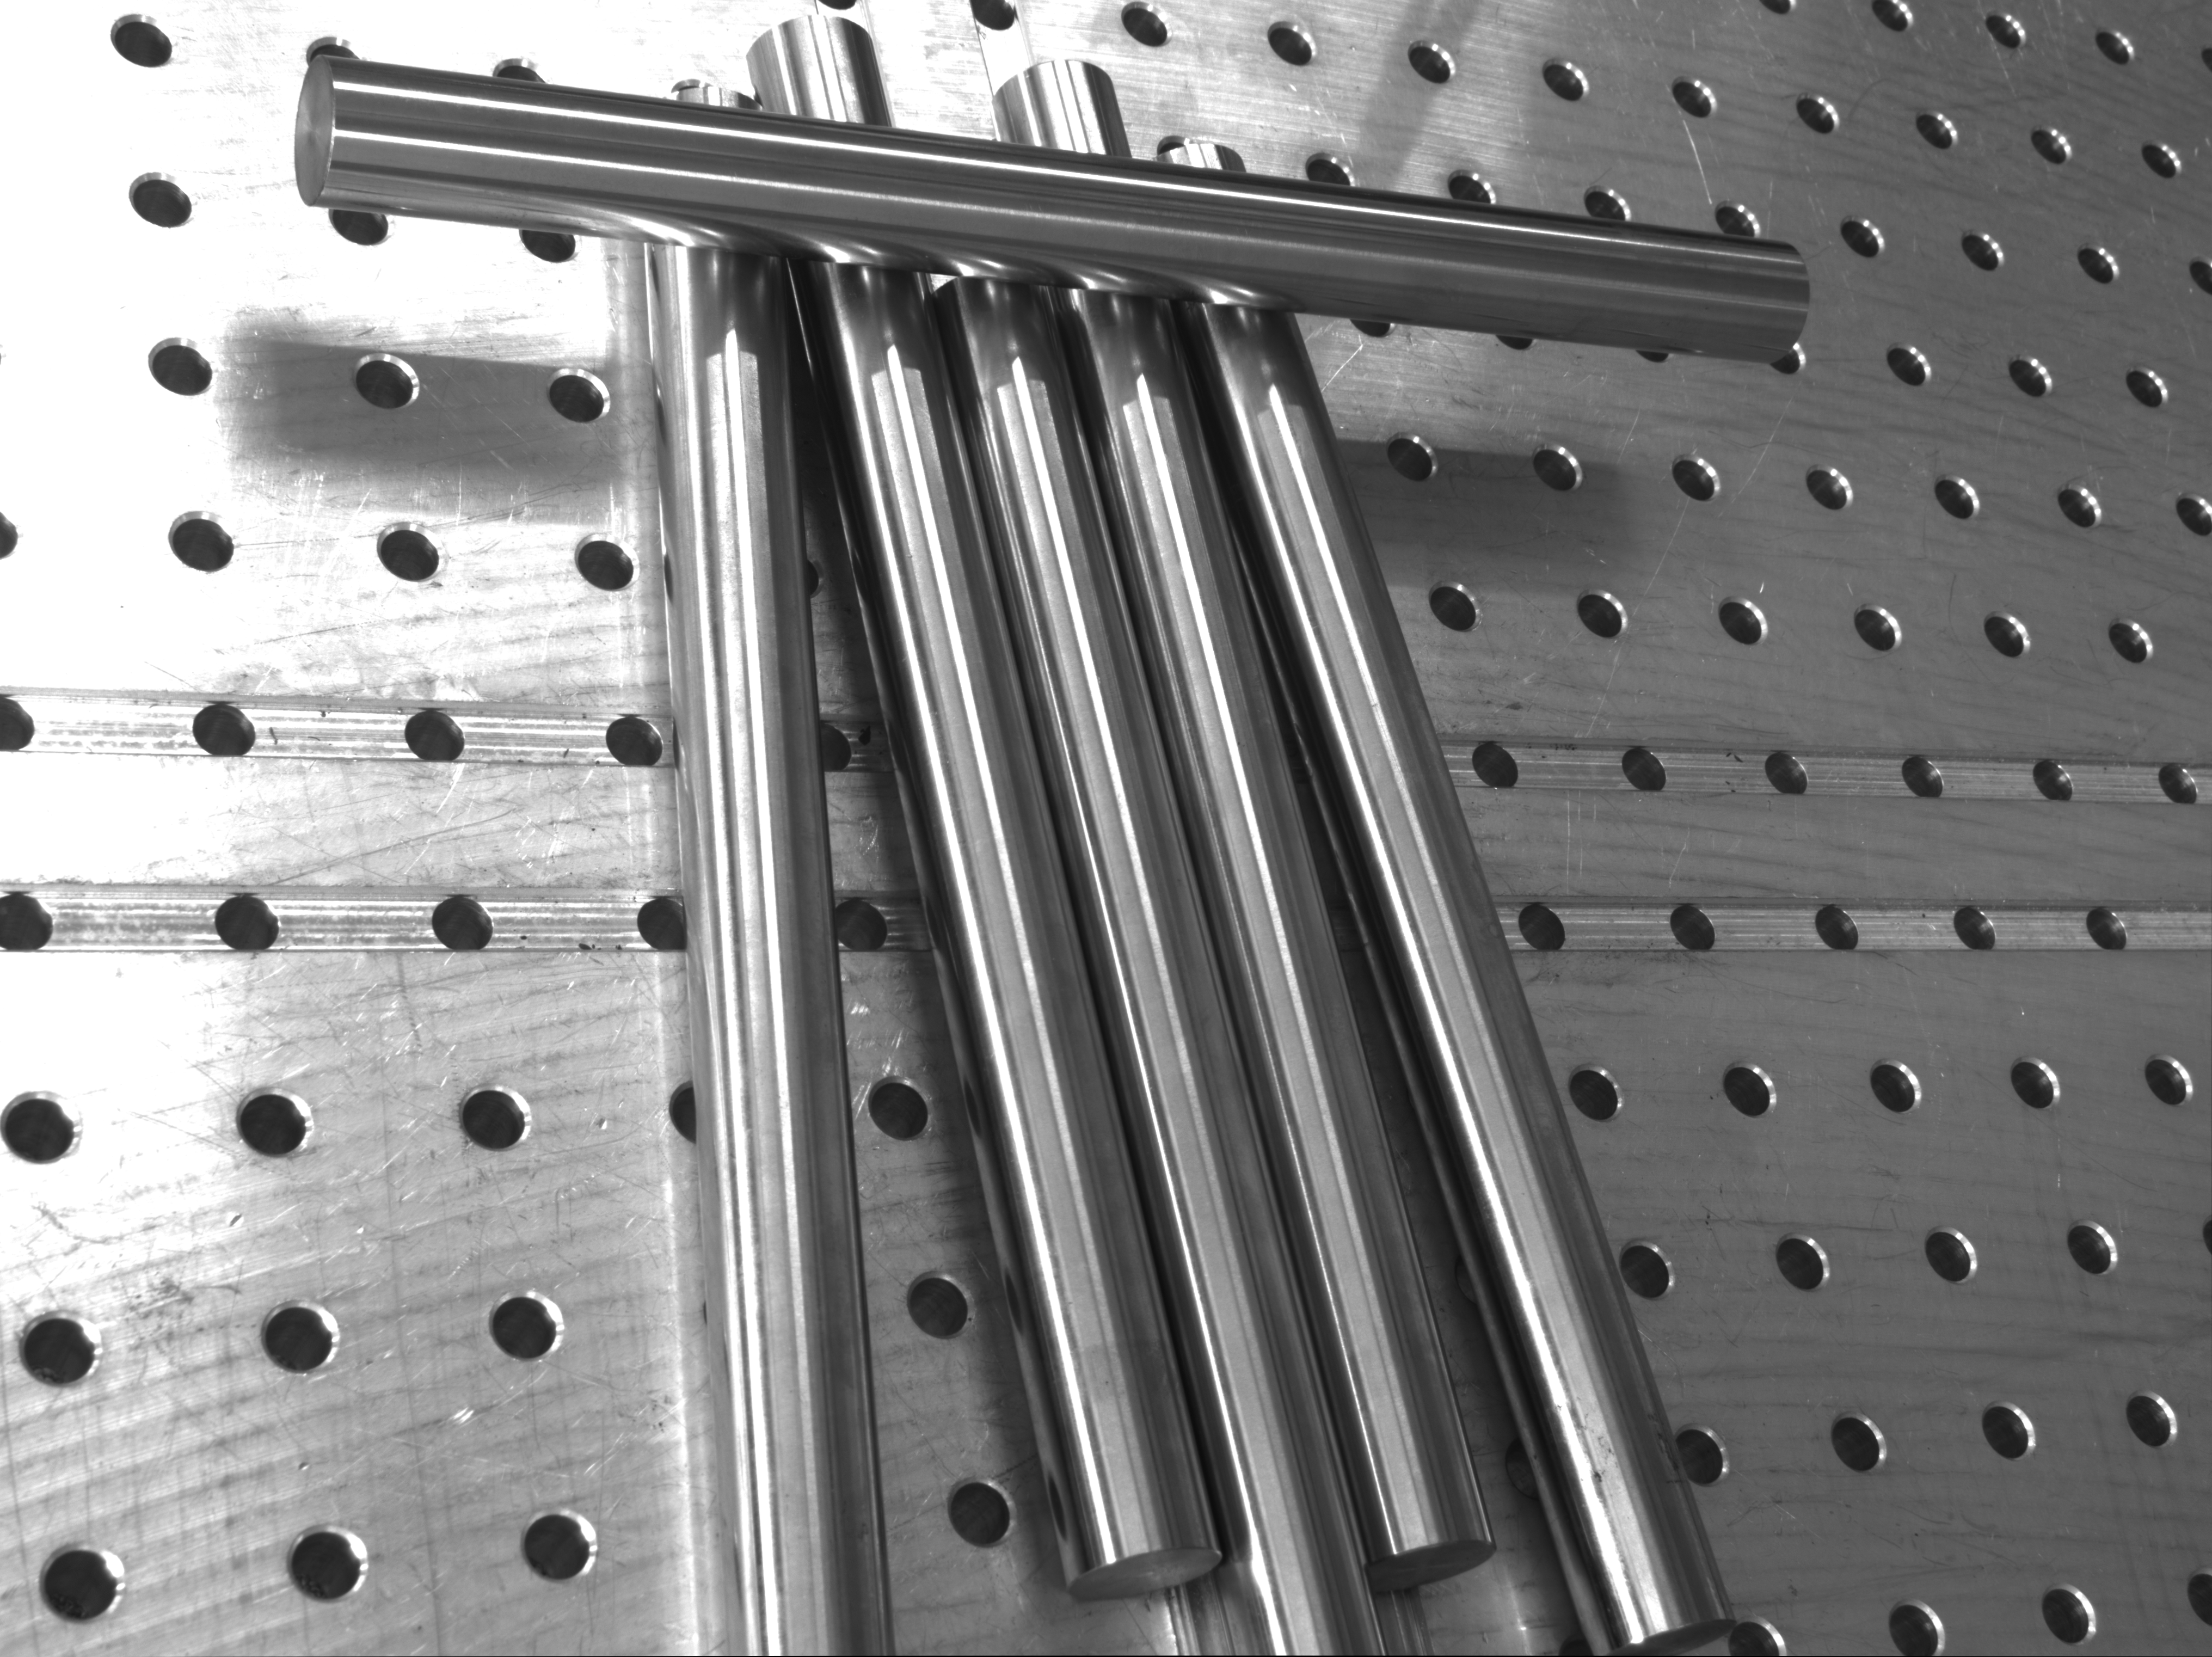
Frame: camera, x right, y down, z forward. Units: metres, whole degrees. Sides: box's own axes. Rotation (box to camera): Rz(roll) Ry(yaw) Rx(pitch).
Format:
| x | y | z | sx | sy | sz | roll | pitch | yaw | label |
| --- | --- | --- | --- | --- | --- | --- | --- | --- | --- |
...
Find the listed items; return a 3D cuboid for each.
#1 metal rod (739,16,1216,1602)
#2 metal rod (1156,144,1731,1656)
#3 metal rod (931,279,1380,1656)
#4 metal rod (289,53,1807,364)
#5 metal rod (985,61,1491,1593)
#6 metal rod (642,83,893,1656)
| x | y | z | sx | sy | sz | roll | pitch | yaw | label |
| --- | --- | --- | --- | --- | --- | --- | --- | --- | --- |
| -0.026 | -0.015 | 0.638 | 0.025 | 0.025 | 0.300 | 1 | 61 | -28 | metal rod |
| 0.053 | 0.004 | 0.669 | 0.025 | 0.025 | 0.300 | -2 | 63 | -29 | metal rod |
| 0.008 | 0.034 | 0.626 | 0.025 | 0.025 | 0.300 | 1 | 62 | -28 | metal rod |
| 0.001 | -0.112 | 0.679 | 0.301 | 0.025 | 0.025 | 2 | 61 | -27 | metal rod |
| 0.019 | -0.012 | 0.661 | 0.025 | 0.025 | 0.300 | 1 | 61 | -28 | metal rod |
| -0.059 | 0.001 | 0.609 | 0.025 | 0.025 | 0.300 | 7 | 59 | -24 | metal rod |
